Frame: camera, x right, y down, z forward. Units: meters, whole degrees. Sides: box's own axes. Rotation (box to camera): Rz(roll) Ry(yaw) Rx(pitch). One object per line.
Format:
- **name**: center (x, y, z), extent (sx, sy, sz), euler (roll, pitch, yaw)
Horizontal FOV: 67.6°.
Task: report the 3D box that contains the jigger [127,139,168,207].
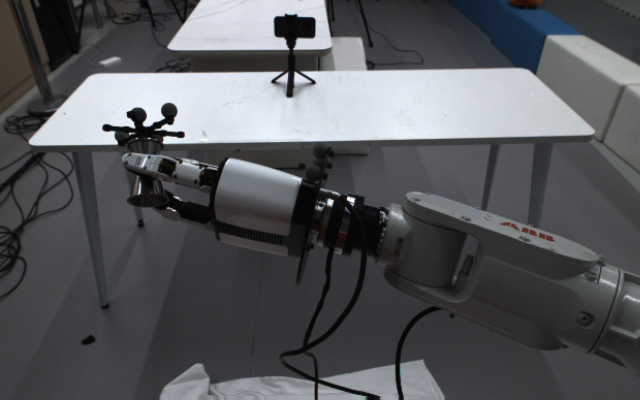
- **jigger**: center (-0.196, -0.030, 0.543), extent (0.043, 0.043, 0.071), euler (-6, 73, -12)
